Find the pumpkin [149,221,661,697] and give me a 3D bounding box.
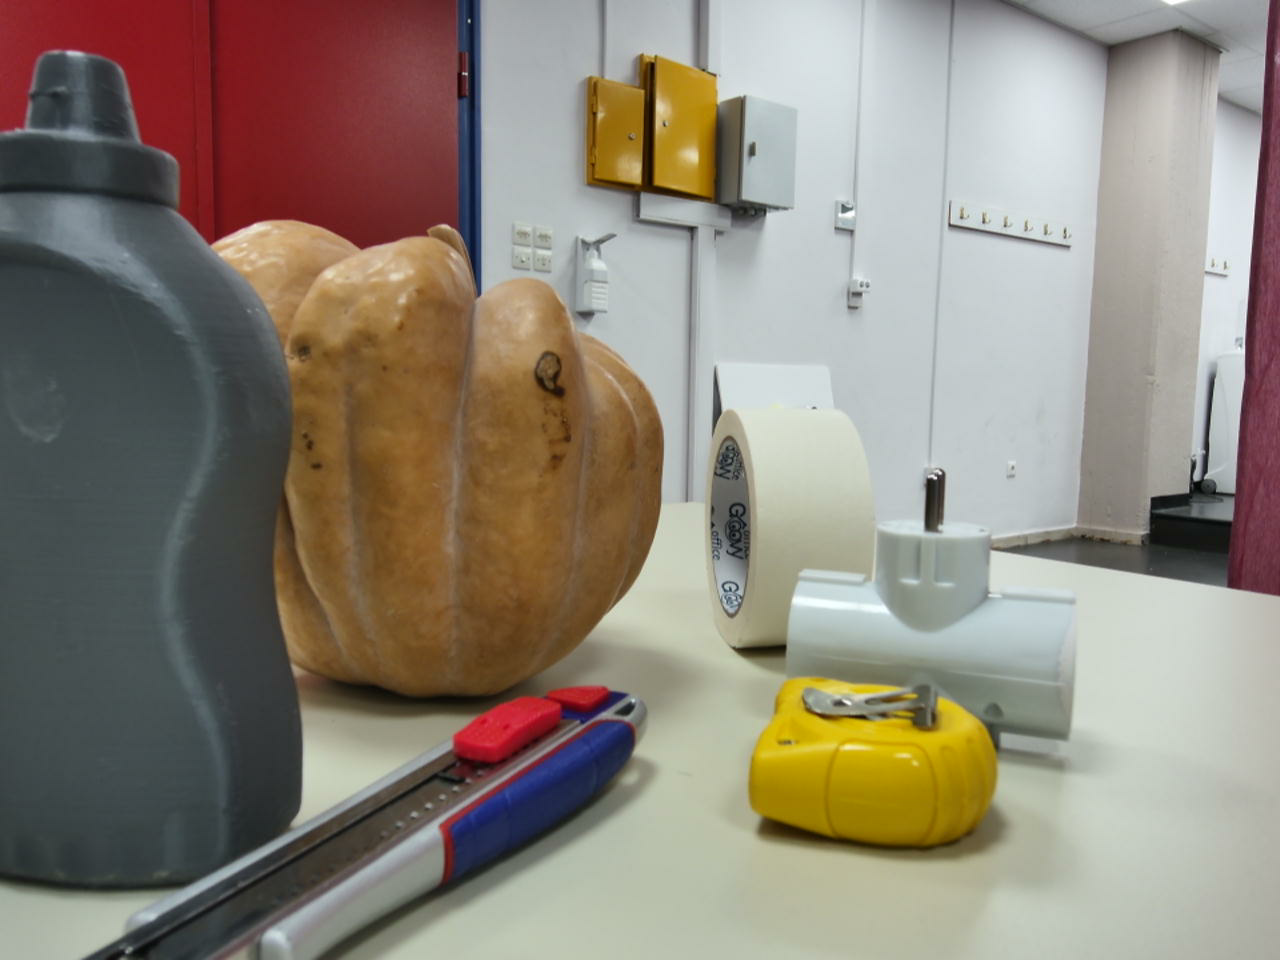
[{"bbox_3d":[-0.088,-0.008,0.391,0.199,0.177,0.198,0,4,0],"label":"pumpkin"}]
